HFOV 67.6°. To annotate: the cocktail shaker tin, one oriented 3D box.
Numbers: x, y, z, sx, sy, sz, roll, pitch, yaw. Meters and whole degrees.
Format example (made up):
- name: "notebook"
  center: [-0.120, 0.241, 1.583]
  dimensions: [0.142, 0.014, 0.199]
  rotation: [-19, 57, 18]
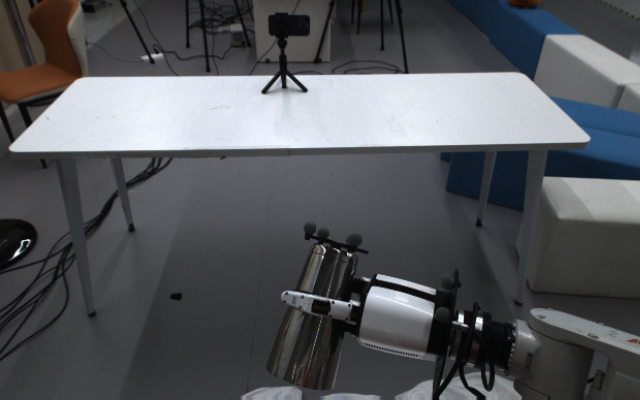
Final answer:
- name: "cocktail shaker tin"
  center: [-0.002, 0.148, 0.637]
  dimensions: [0.093, 0.170, 0.093]
  rotation: [15, -6, 2]
